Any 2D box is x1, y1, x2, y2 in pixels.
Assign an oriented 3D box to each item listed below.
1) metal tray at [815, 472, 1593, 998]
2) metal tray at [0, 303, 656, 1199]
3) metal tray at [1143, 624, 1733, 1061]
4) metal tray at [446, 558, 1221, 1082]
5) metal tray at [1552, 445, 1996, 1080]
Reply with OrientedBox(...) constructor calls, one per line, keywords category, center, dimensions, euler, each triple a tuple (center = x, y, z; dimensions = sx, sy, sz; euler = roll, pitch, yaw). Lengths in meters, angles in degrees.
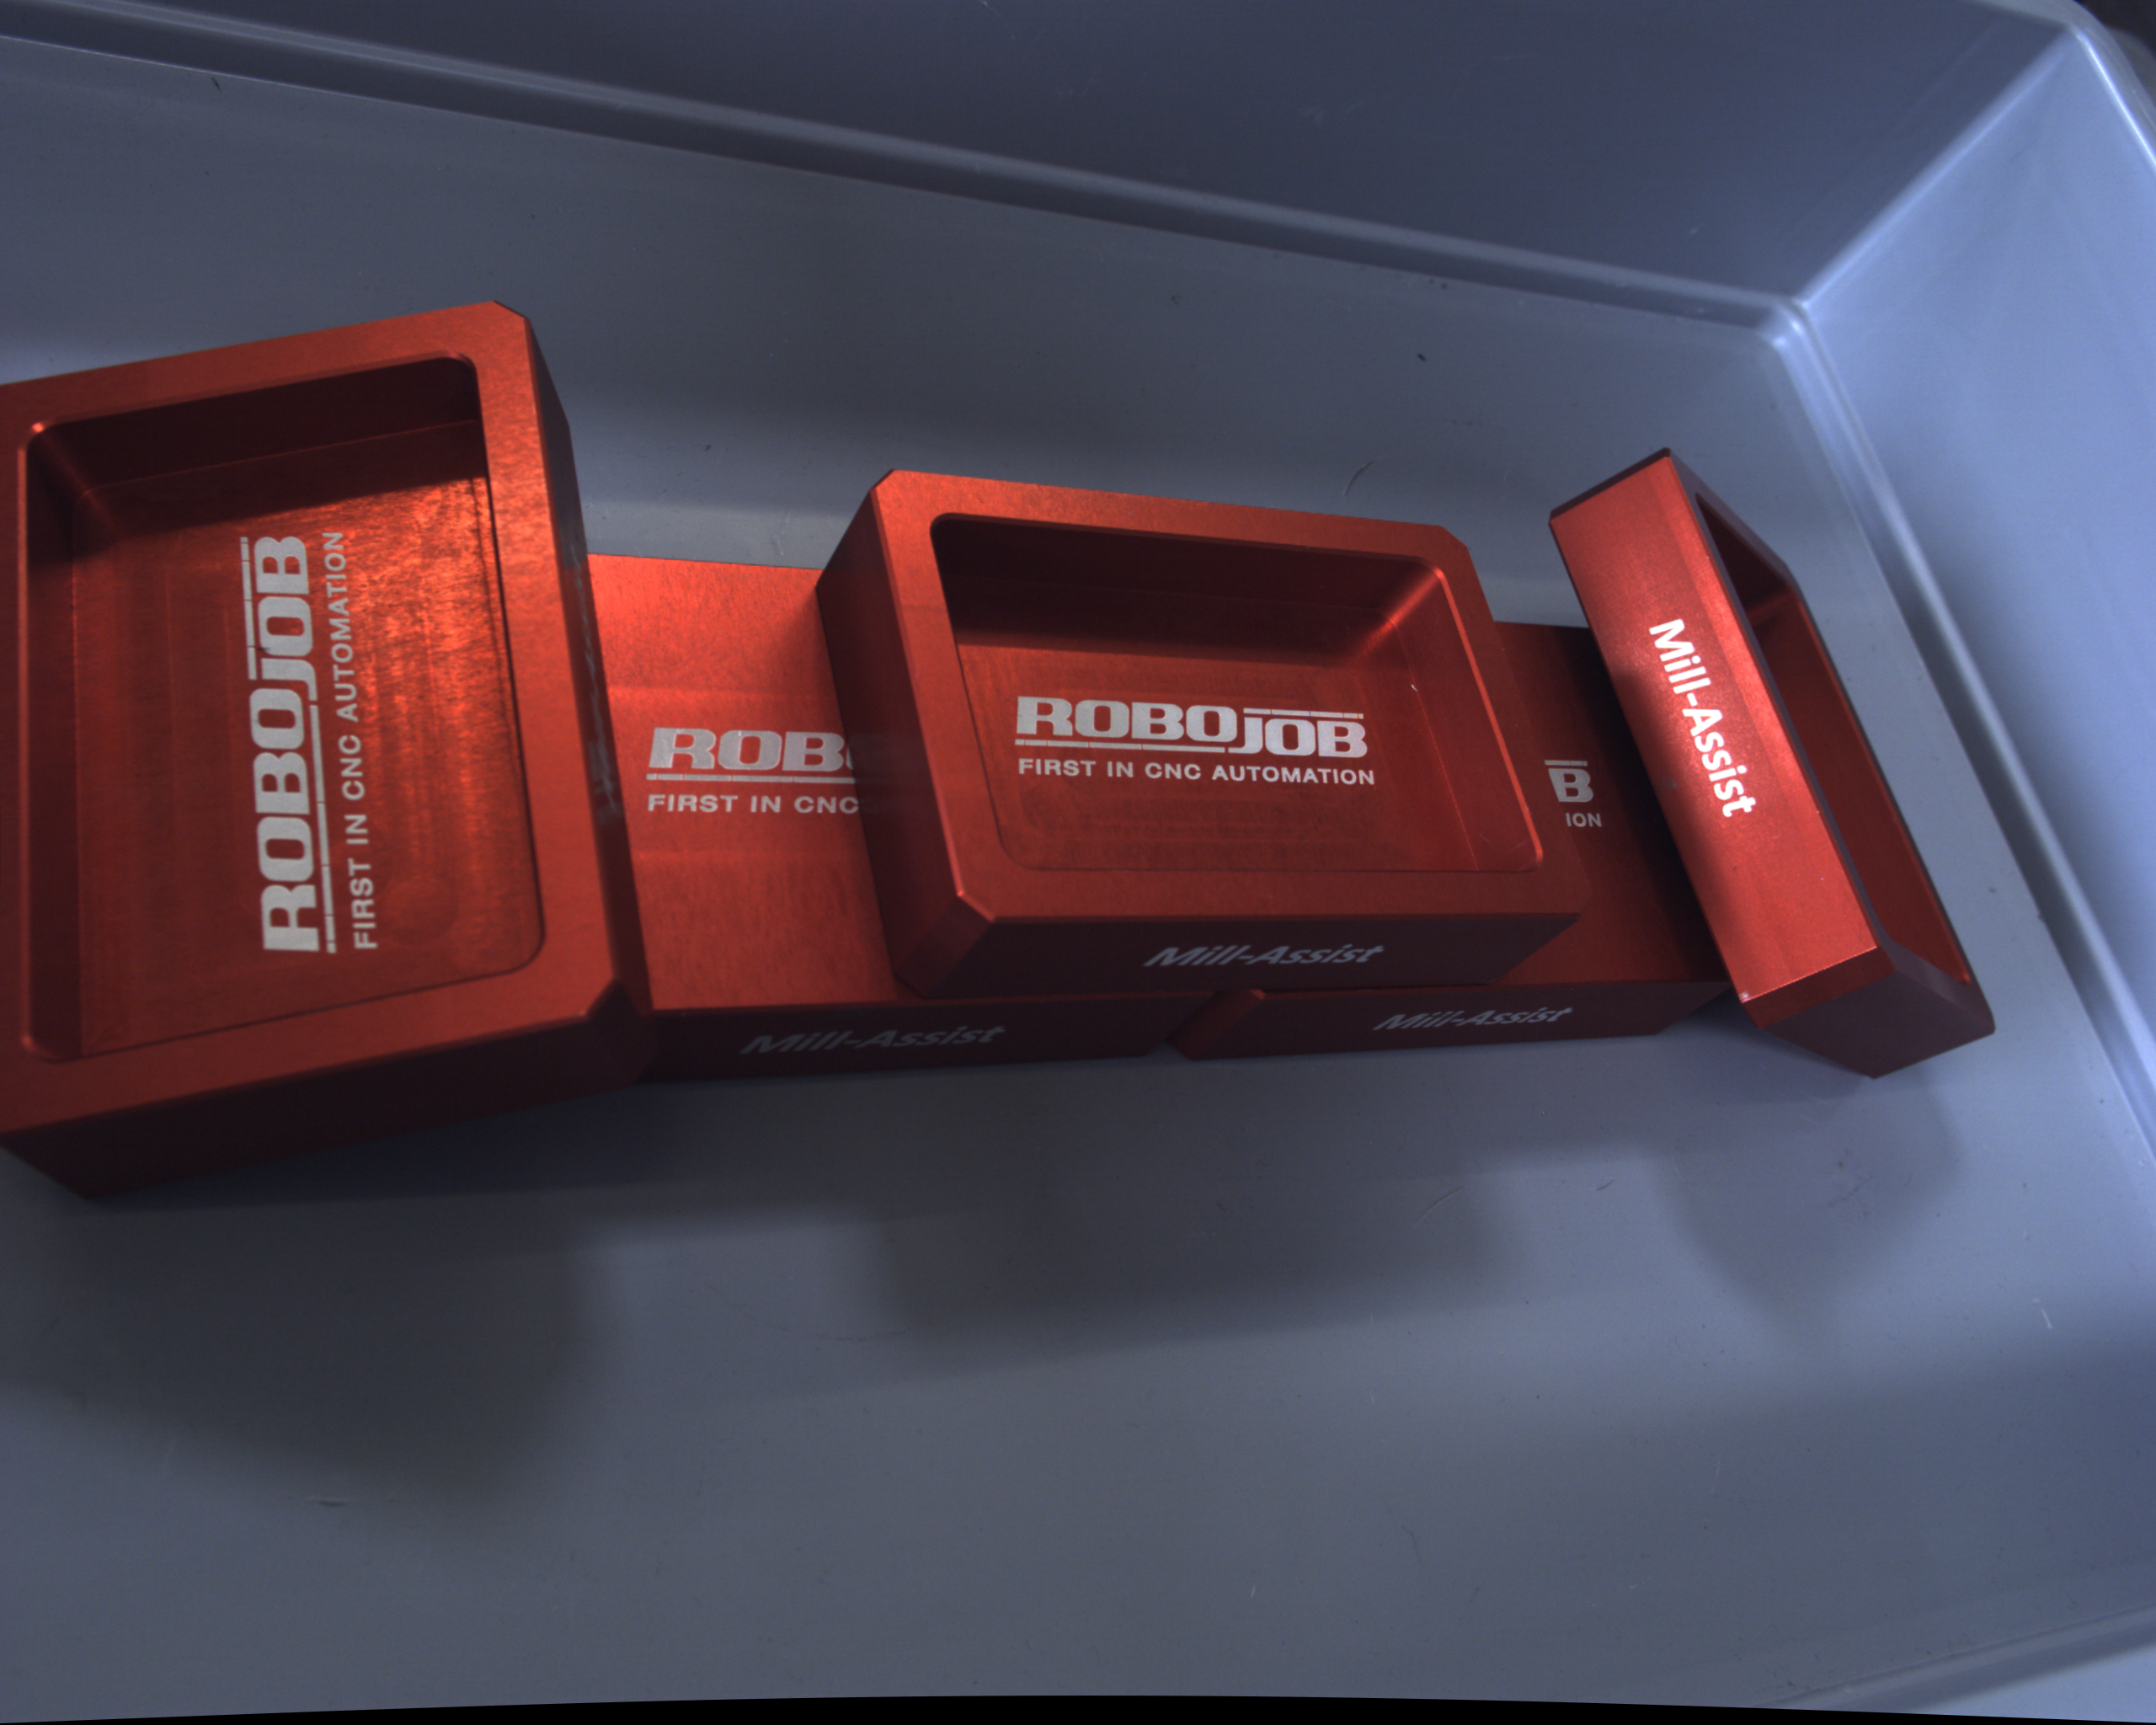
OrientedBox(category="metal tray", center=(0.024, -0.023, 0.388), dimensions=(0.131, 0.030, 0.090), euler=(0, 61, -28))
OrientedBox(category="metal tray", center=(-0.121, -0.021, 0.325), dimensions=(0.091, 0.030, 0.130), euler=(-11, 65, -5))
OrientedBox(category="metal tray", center=(0.070, -0.007, 0.443), dimensions=(0.131, 0.030, 0.090), euler=(0, 62, -28))
OrientedBox(category="metal tray", center=(-0.046, -0.008, 0.382), dimensions=(0.131, 0.030, 0.090), euler=(0, 62, -28))
OrientedBox(category="metal tray", center=(0.158, -0.021, 0.473), dimensions=(0.090, 0.030, 0.130), euler=(21, 48, -52))
